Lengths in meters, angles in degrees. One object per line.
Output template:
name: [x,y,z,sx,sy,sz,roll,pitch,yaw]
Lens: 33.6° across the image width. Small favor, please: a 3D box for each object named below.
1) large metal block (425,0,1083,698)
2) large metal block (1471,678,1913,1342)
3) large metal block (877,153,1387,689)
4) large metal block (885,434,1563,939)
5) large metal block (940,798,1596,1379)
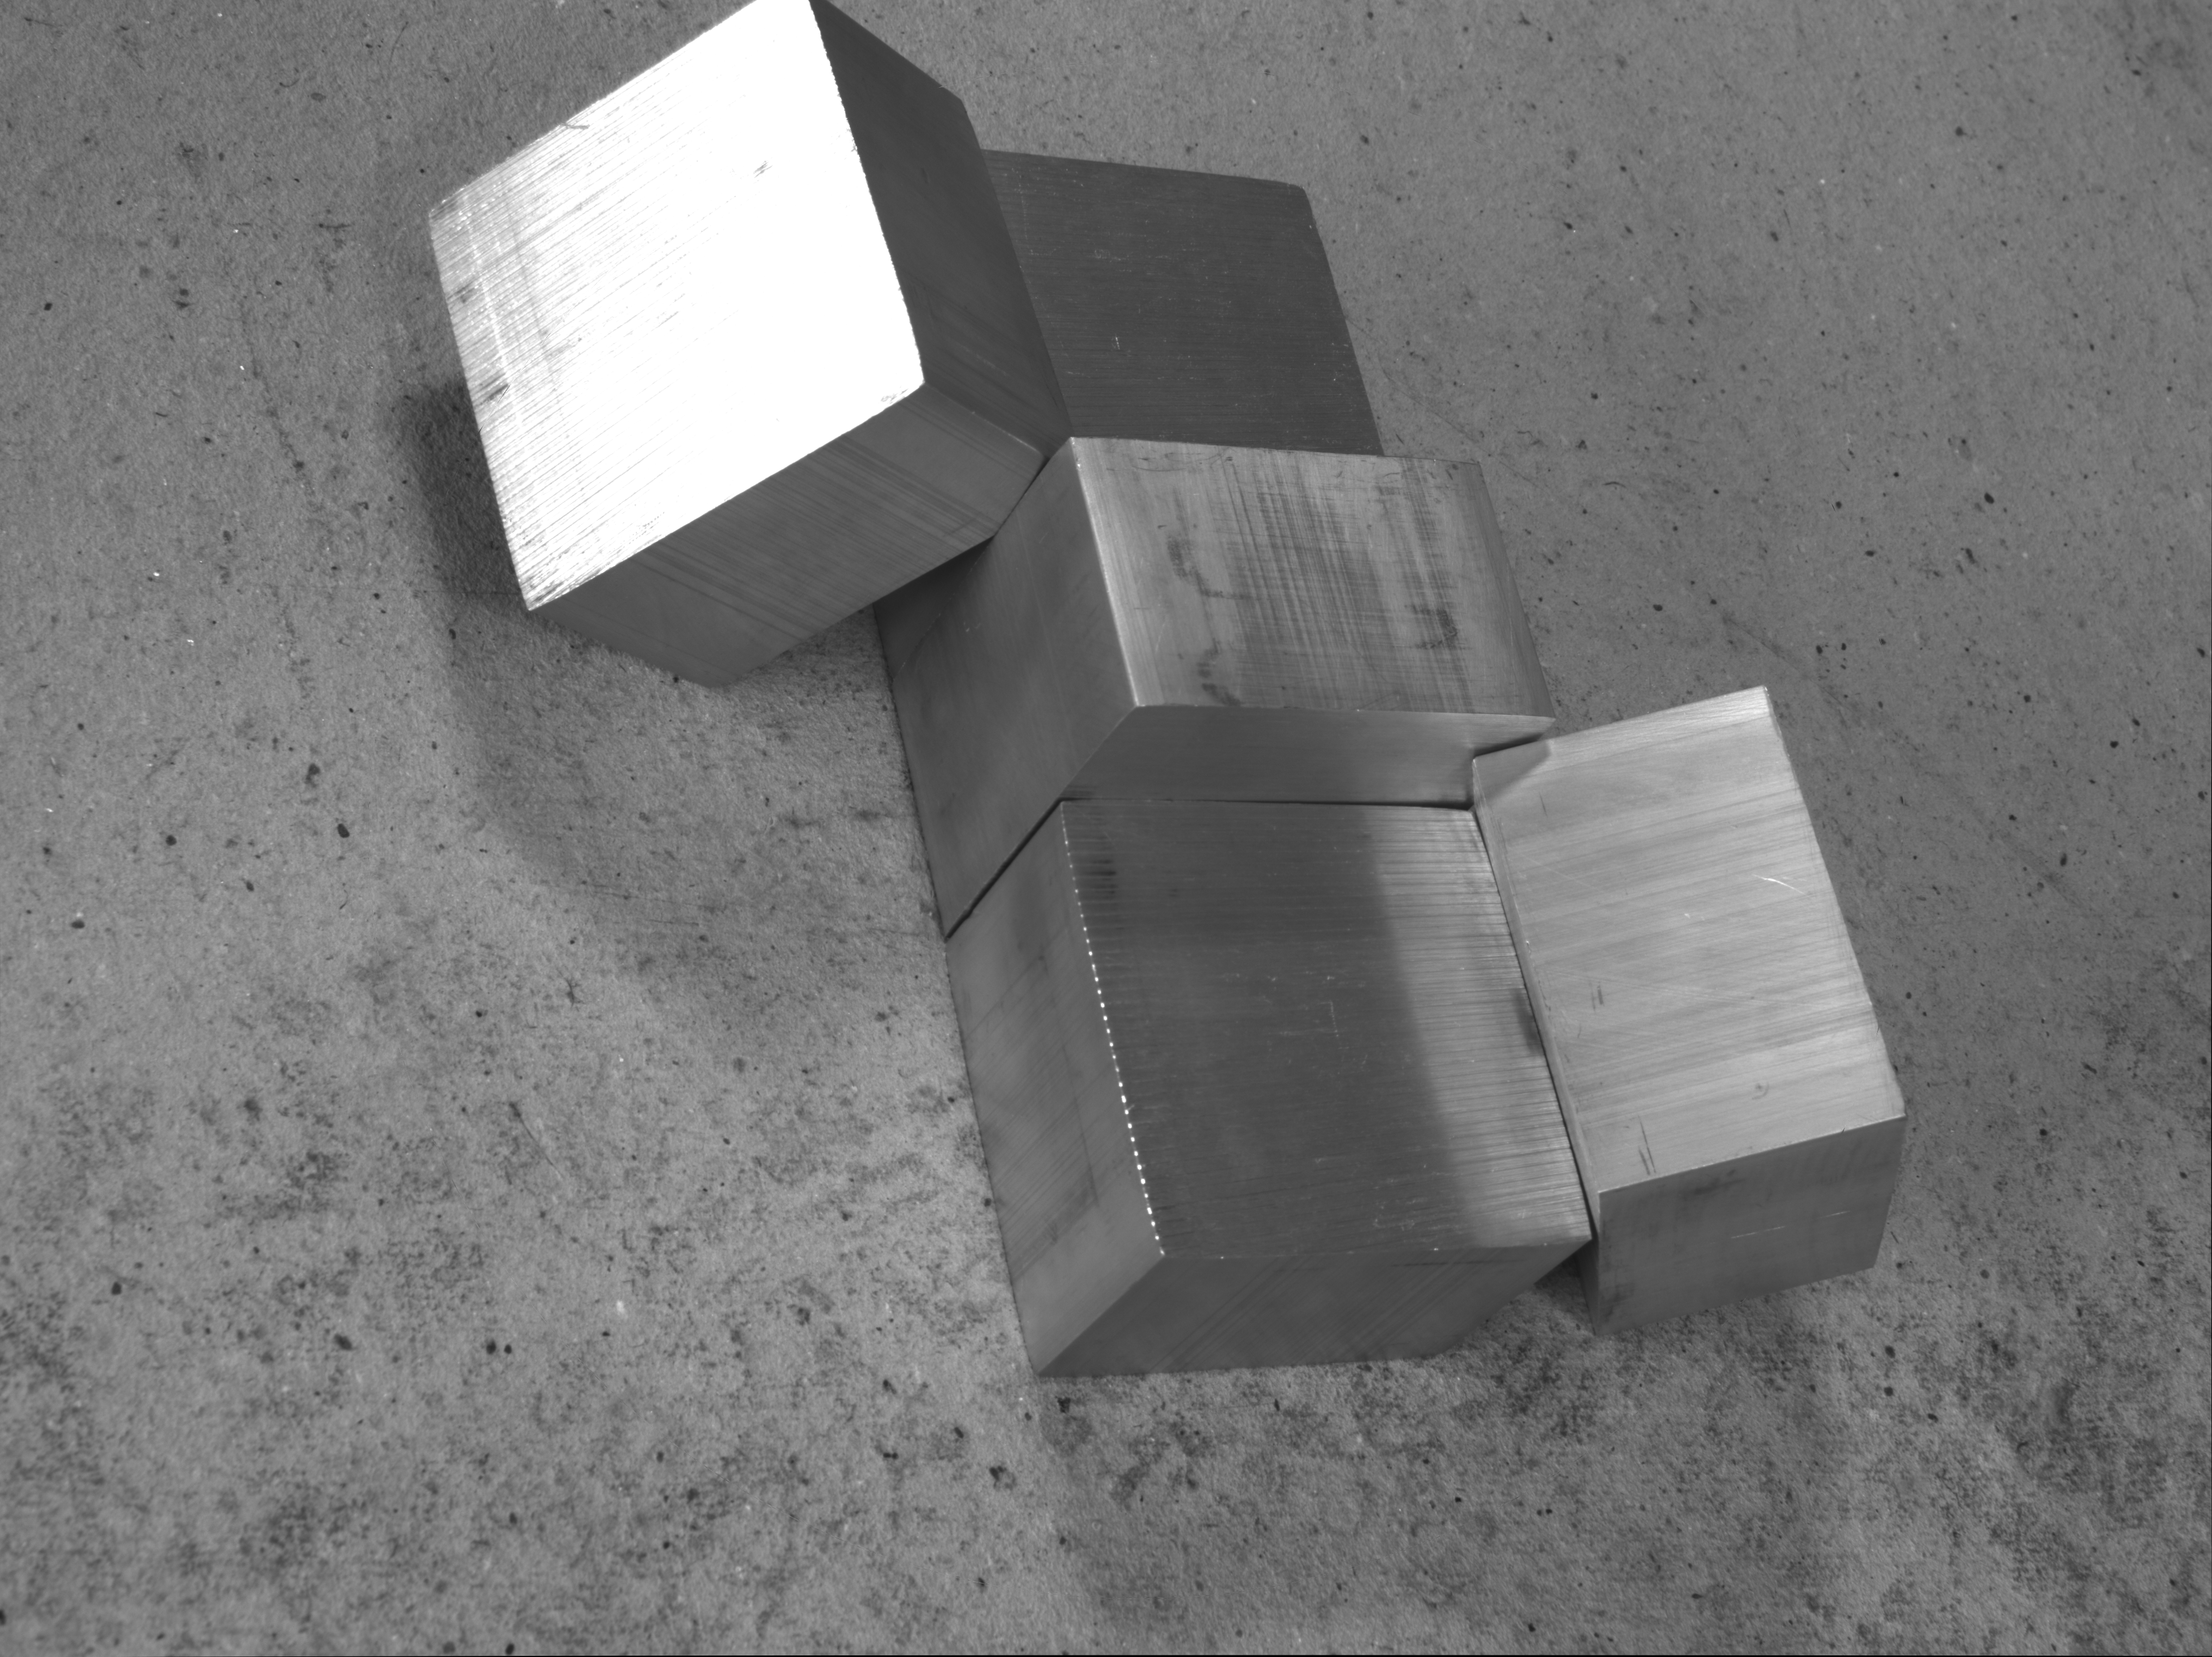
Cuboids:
large metal block: [-0.059,-0.080,0.612,0.050,0.080,0.080,25,43,-58]
large metal block: [0.098,0.033,0.627,0.050,0.080,0.080,-14,65,1]
large metal block: [-0.001,-0.073,0.665,0.080,0.050,0.080,0,61,-27]
large metal block: [0.018,-0.022,0.627,0.080,0.080,0.050,1,61,-28]
large metal block: [0.025,0.043,0.610,0.080,0.050,0.080,1,62,-27]
